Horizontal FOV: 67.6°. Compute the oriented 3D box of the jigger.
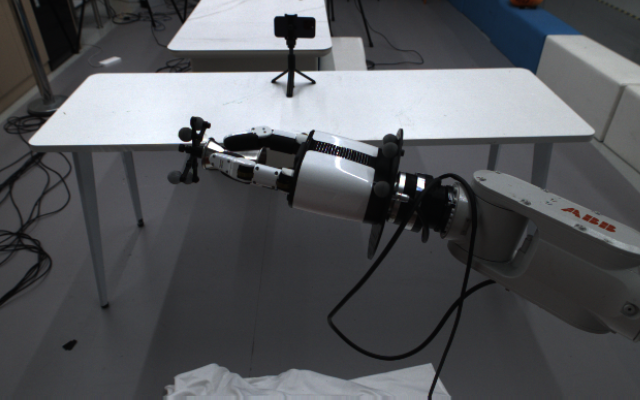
[{"bbox_3d":[-0.097,-0.052,0.585,0.071,0.043,0.043,11,36,5],"label":"jigger"}]
